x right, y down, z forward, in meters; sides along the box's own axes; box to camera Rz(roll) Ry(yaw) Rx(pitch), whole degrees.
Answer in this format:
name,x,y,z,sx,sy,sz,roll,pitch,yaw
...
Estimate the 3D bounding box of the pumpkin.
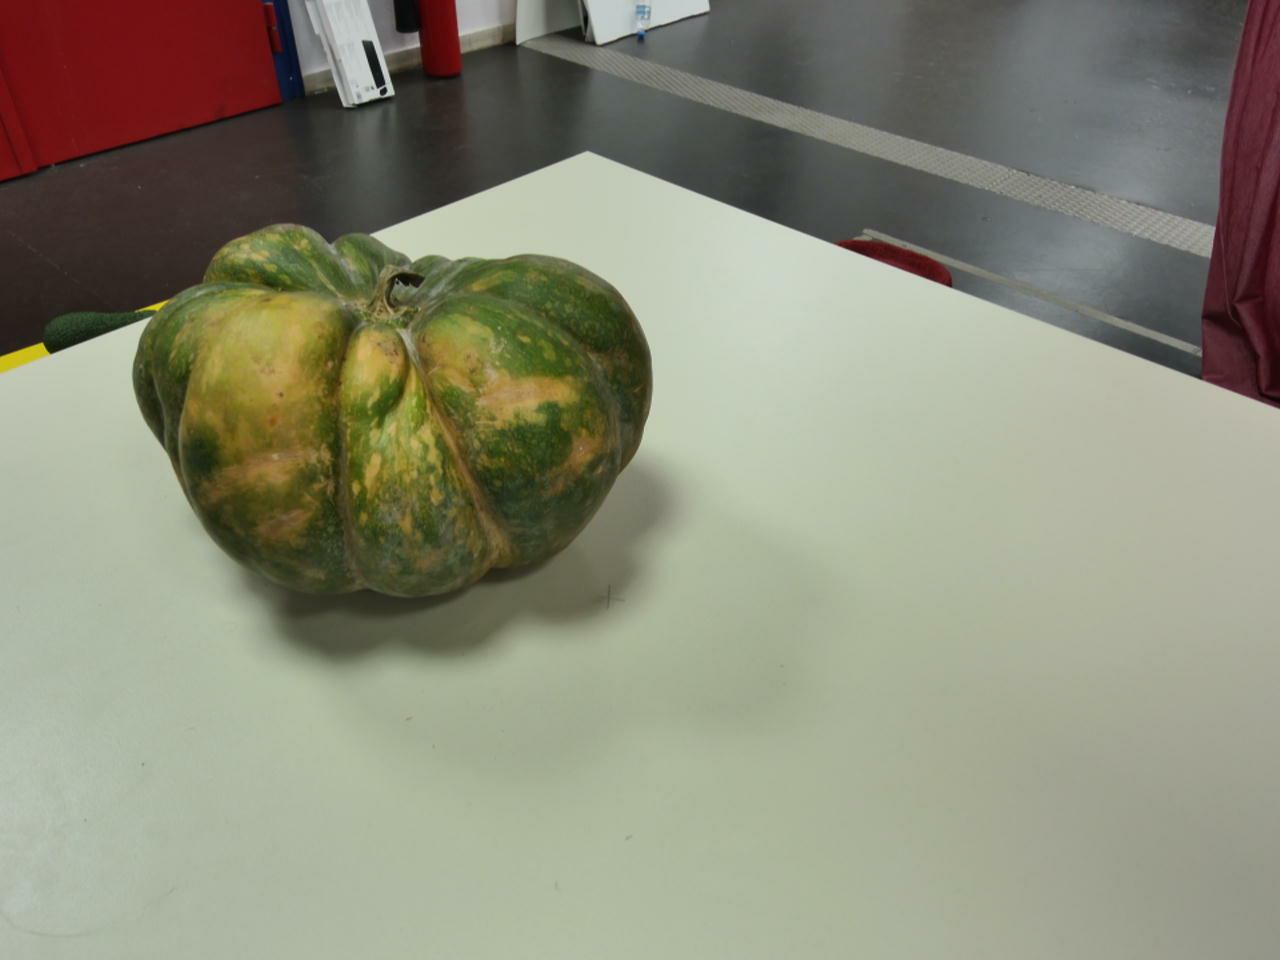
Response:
name,x,y,z,sx,sy,sz,roll,pitch,yaw
pumpkin,-0.130,-0.046,0.535,0.270,0.173,0.237,-7,38,-9
